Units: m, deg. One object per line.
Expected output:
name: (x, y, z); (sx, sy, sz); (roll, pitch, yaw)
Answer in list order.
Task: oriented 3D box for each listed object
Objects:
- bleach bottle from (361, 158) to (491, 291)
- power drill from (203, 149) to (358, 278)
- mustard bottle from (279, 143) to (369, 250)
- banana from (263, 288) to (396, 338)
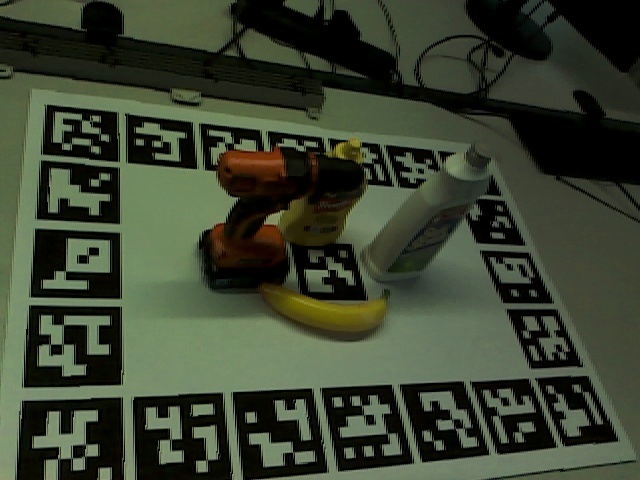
bleach bottle: (0.152, -0.021, 0.865); (0.102, 0.251, 0.068); (-4, 57, -27)
power drill: (-0.062, -0.031, 0.780); (0.183, 0.187, 0.057); (3, 46, -26)
mustard bottle: (0.015, -0.063, 0.866); (0.096, 0.191, 0.058); (5, 52, -23)
banana: (0.020, 0.097, 0.840); (0.196, 0.039, 0.074); (5, 56, -18)
